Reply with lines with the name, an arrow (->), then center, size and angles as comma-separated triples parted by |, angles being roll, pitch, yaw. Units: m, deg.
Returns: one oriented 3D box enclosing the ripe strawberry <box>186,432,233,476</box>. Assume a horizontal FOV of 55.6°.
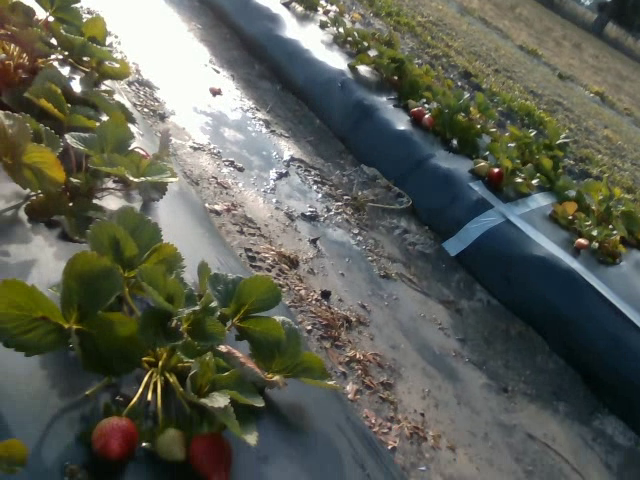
ripe strawberry -> -0.104, 0.212, 0.571 | 0.048, 0.065, 0.050 | -19, -42, -4
